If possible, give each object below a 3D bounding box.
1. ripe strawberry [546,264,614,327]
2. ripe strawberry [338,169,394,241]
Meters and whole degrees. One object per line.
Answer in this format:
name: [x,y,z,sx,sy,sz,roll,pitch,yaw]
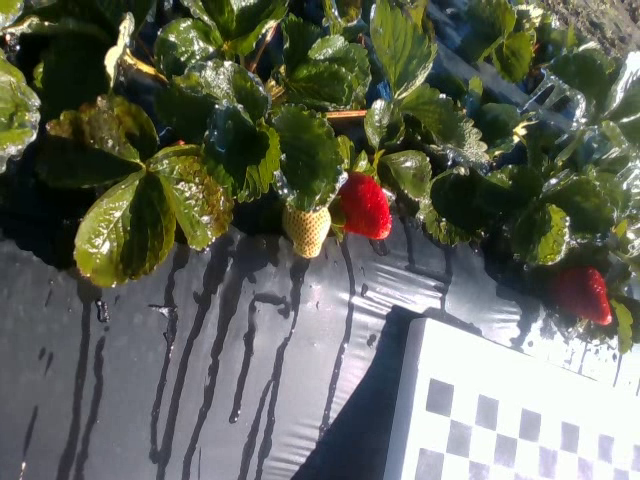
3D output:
ripe strawberry: [0.228,0.049,0.525,0.048,0.061,0.044,15,-48,-28]
ripe strawberry: [0.032,-0.015,0.427,0.042,0.046,0.061,6,36,-29]
